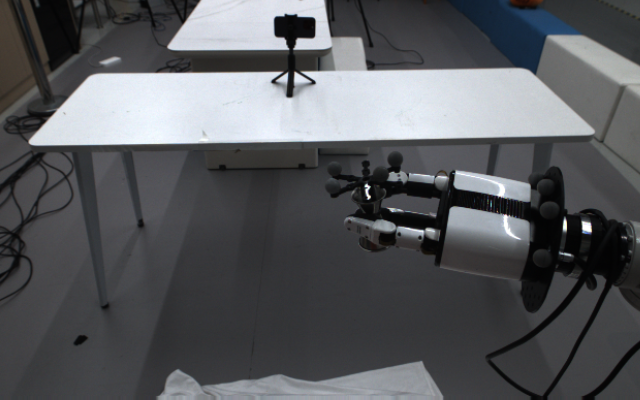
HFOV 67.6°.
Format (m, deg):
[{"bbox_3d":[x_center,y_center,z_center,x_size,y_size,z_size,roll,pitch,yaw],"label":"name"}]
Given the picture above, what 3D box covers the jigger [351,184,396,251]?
[{"bbox_3d":[0.062,0.021,0.567,0.043,0.071,0.043,-10,32,6],"label":"jigger"}]
